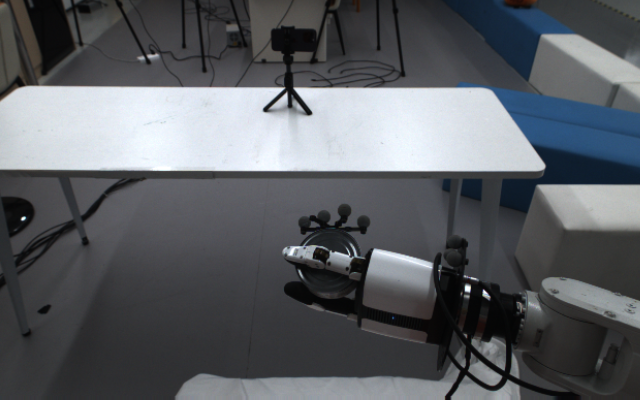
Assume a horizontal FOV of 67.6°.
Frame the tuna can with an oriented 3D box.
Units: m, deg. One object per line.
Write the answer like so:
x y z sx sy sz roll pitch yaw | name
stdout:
0.014 0.081 0.616 0.085 0.034 0.085 -6 61 10 | tuna can
